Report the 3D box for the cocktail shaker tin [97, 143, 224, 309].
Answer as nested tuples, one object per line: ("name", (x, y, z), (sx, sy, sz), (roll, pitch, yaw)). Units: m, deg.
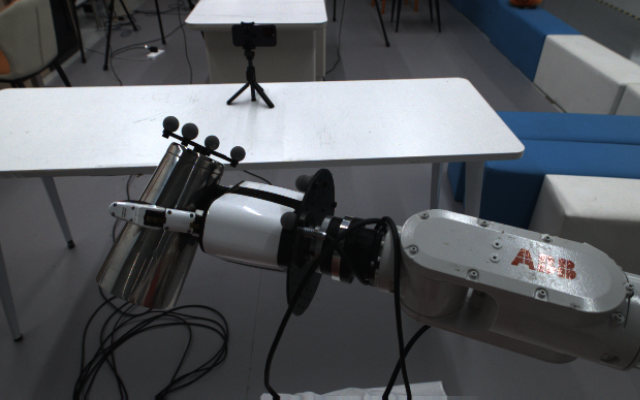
("cocktail shaker tin", (-0.171, 0.024, 0.548), (0.093, 0.170, 0.093), (23, 0, 0))
